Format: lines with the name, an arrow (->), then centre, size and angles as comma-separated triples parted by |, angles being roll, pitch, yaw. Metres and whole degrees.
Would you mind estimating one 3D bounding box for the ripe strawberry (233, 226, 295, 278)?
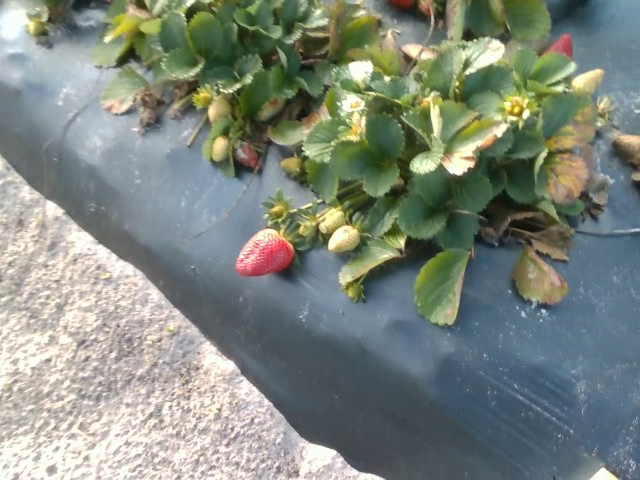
ripe strawberry -> -0.064, 0.016, 0.694 | 0.052, 0.067, 0.045 | 37, -28, 22
